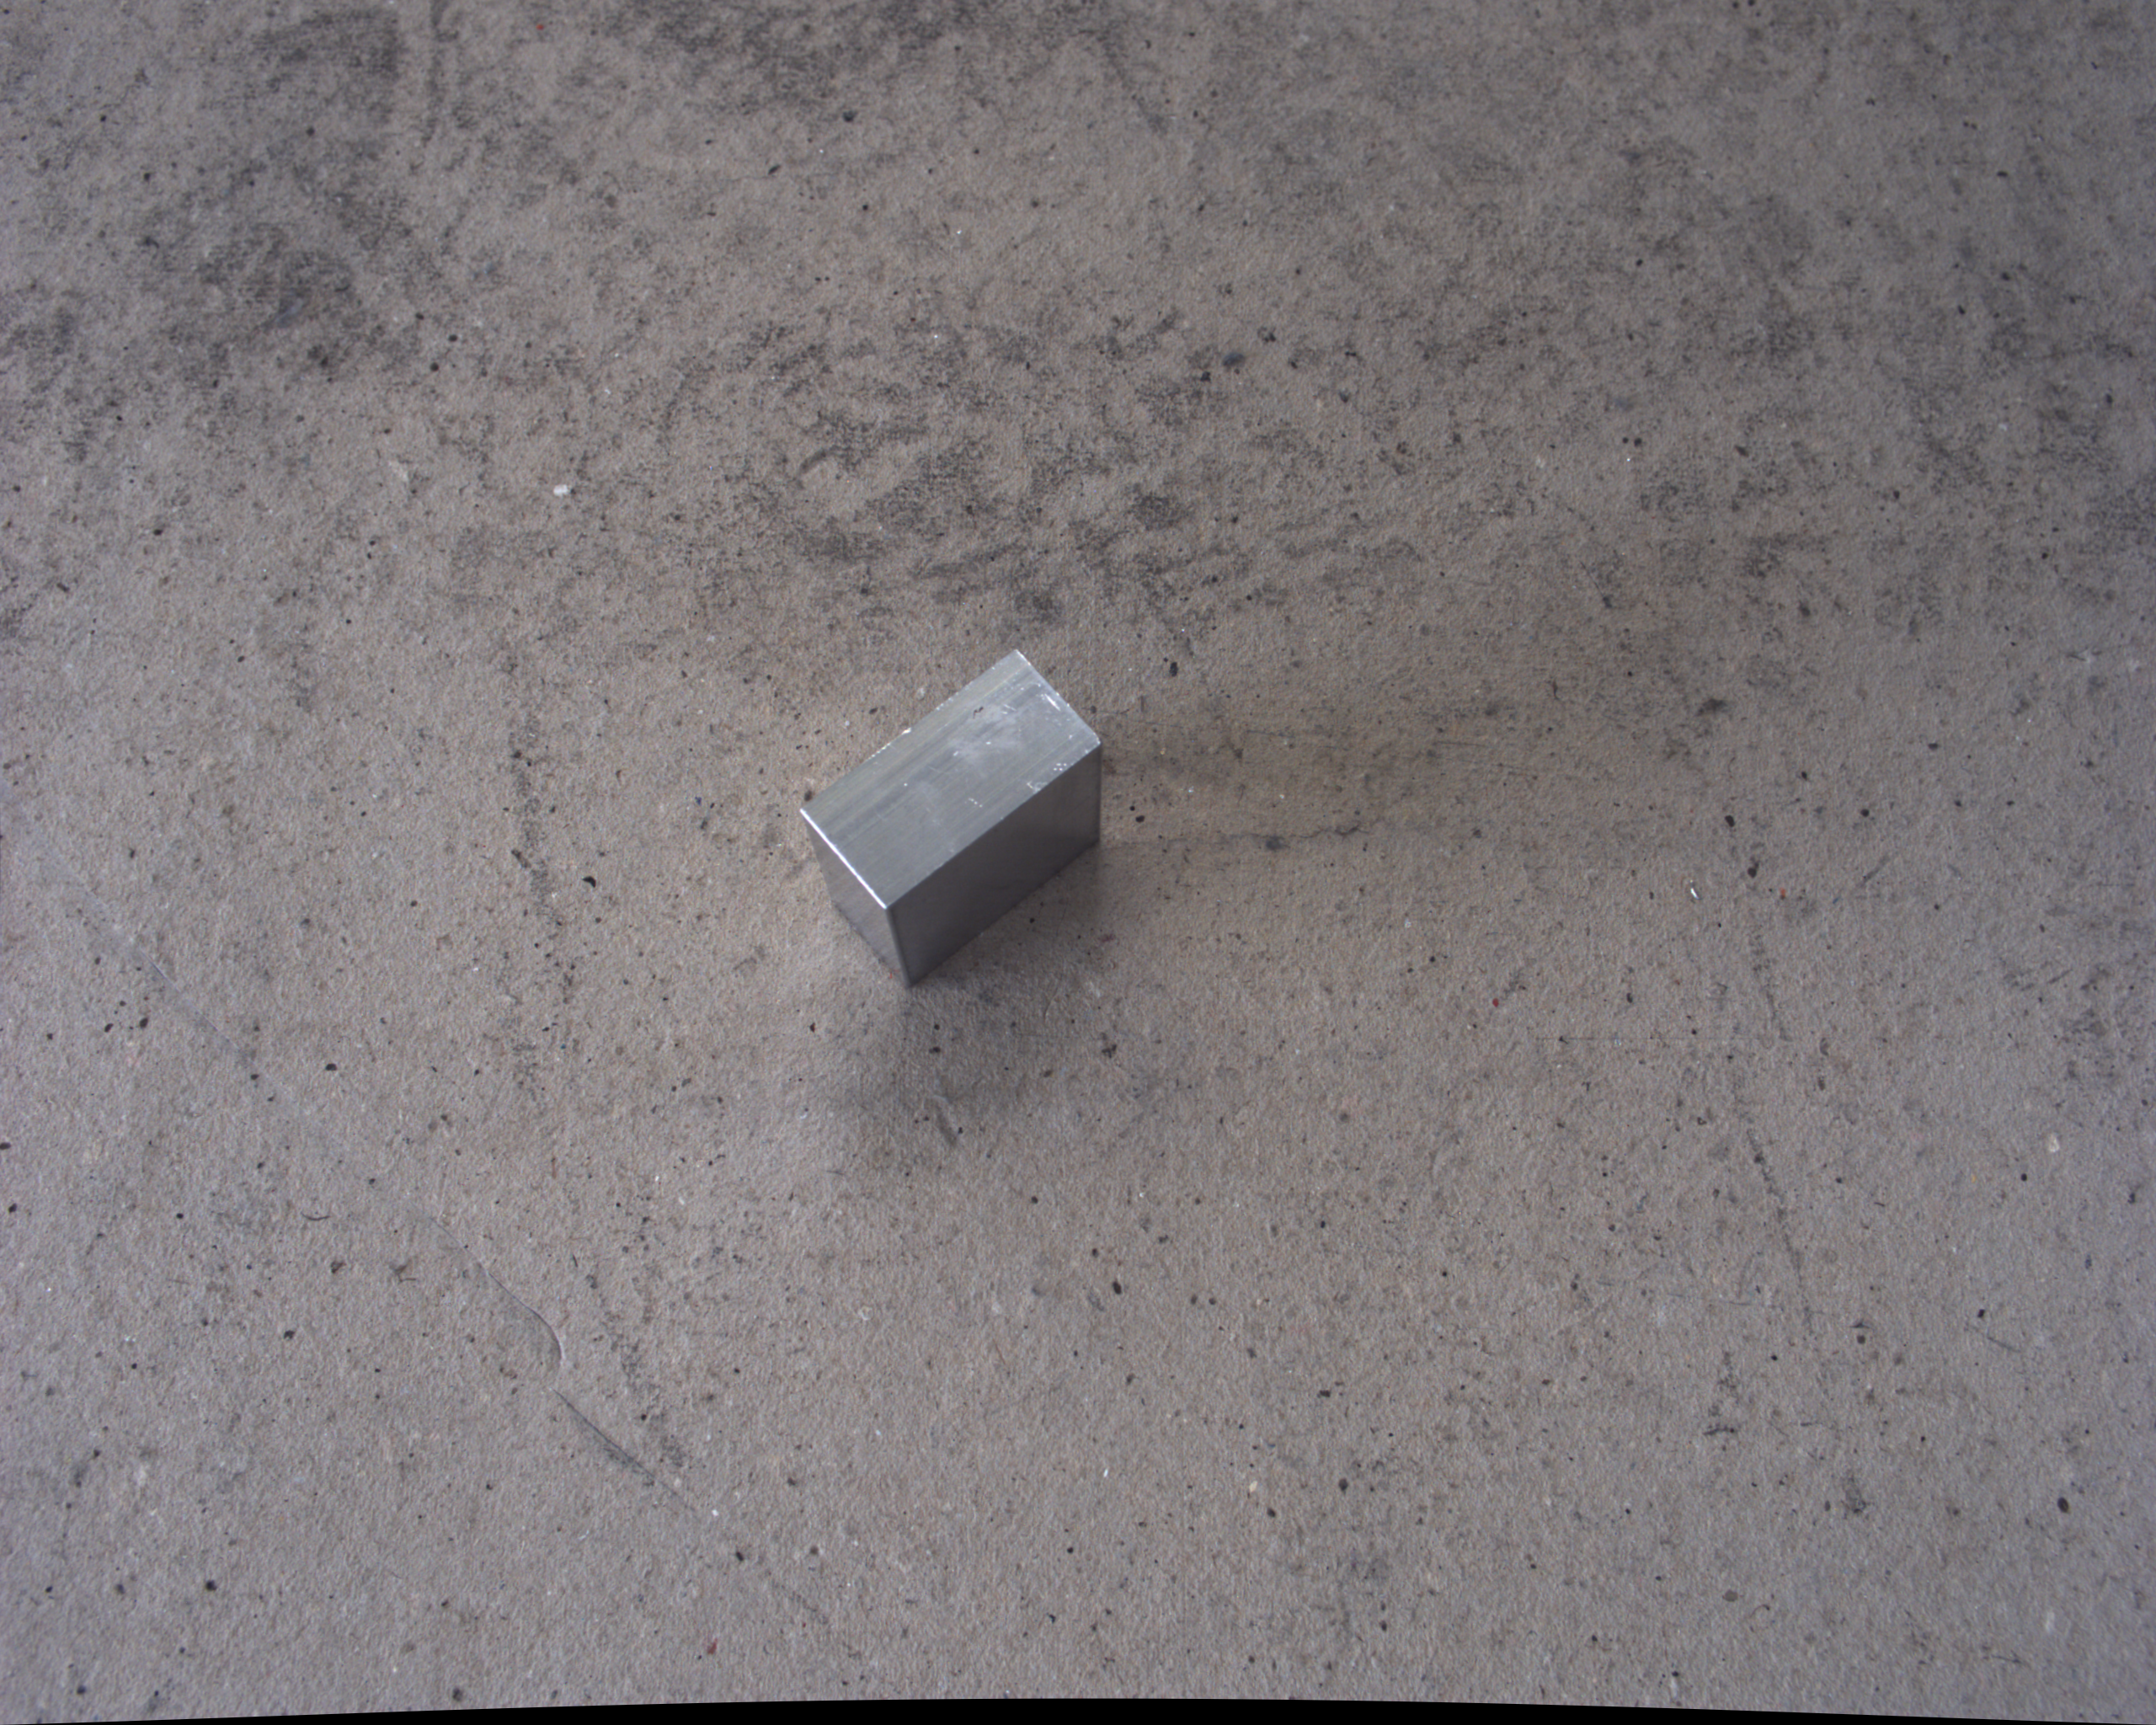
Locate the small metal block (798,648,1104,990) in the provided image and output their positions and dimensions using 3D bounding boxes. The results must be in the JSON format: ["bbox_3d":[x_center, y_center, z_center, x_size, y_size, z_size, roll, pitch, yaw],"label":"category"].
[{"bbox_3d":[-0.023,-0.007,0.399,0.050,0.050,0.025,-38,75,-13],"label":"small metal block"}]
